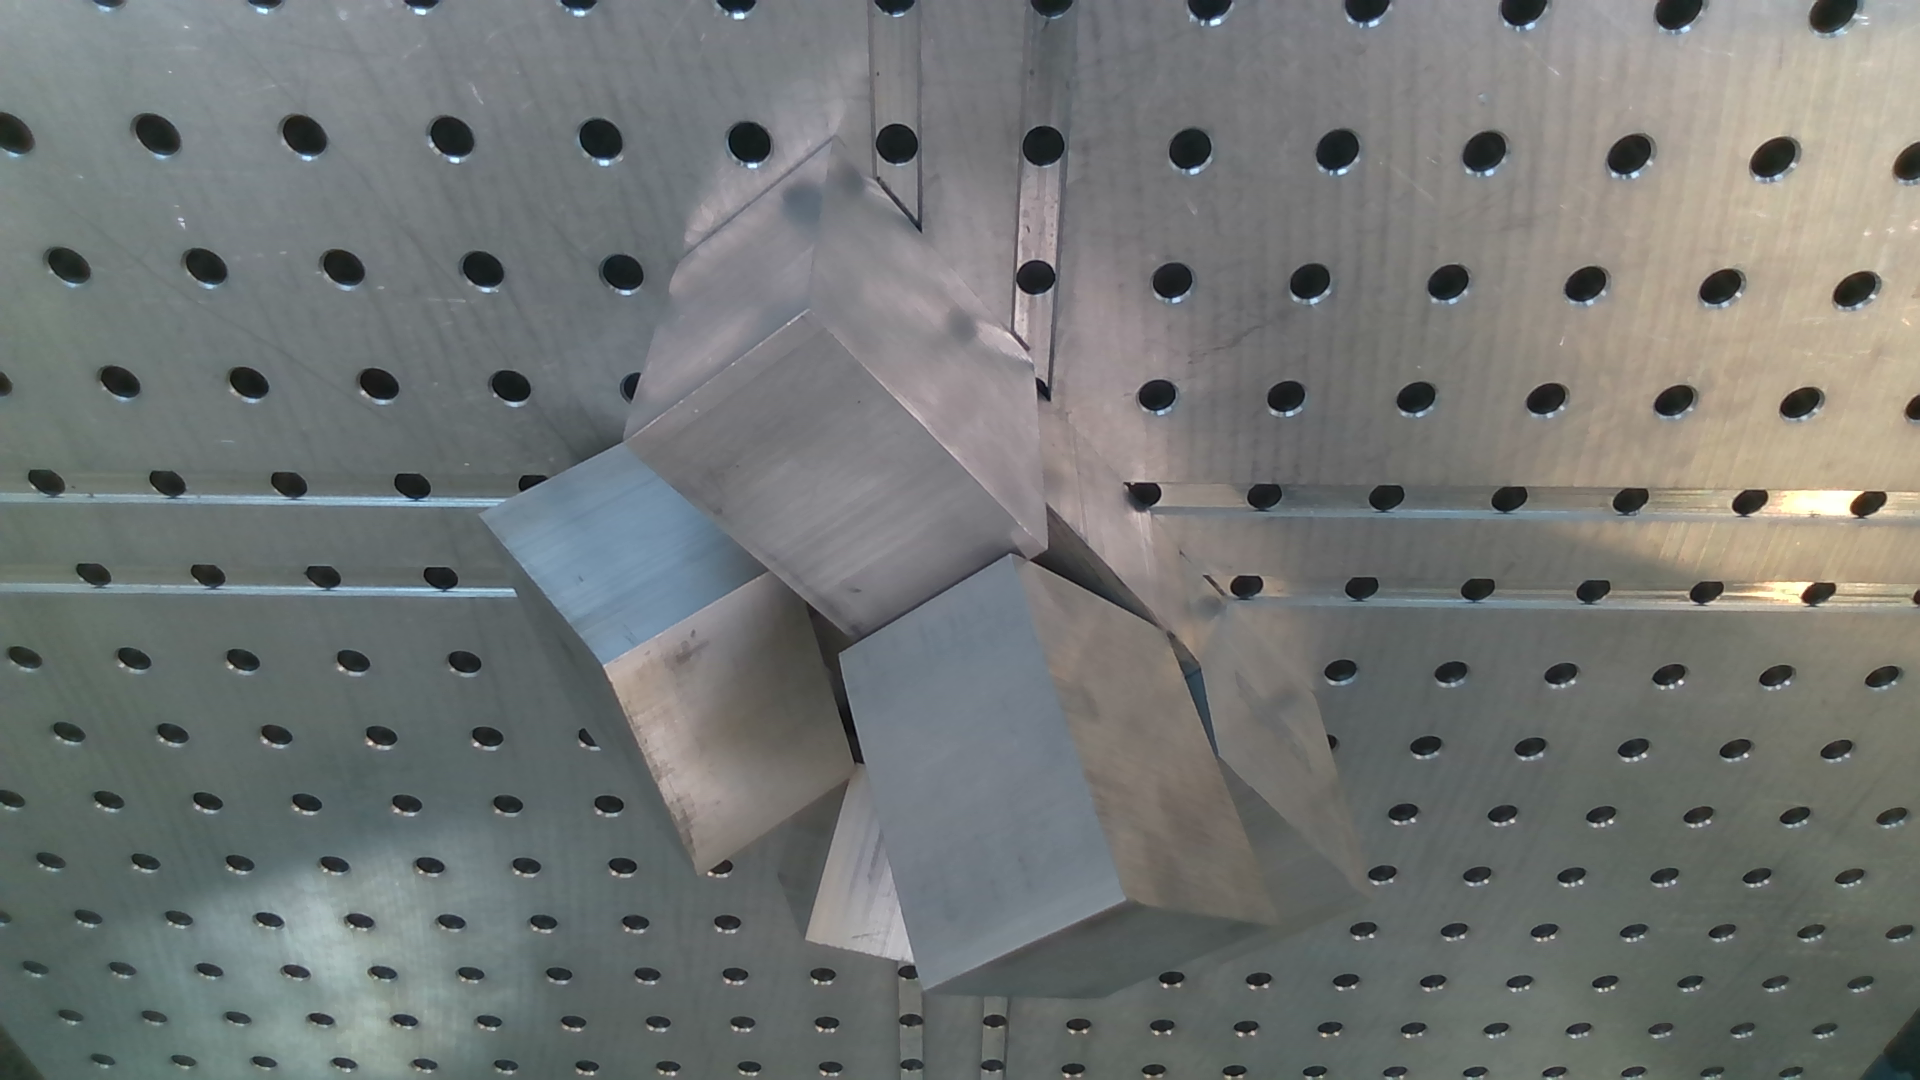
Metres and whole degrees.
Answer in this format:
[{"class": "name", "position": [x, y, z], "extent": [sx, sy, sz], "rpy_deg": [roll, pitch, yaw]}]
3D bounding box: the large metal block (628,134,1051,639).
[{"class": "large metal block", "position": [-0.024, -0.034, 0.325], "extent": [0.050, 0.080, 0.080], "rpy_deg": [-31, 124, 24]}]

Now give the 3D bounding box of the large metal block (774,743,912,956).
[{"class": "large metal block", "position": [-0.009, 0.095, 0.426], "extent": [0.080, 0.080, 0.050], "rpy_deg": [16, 87, -13]}]

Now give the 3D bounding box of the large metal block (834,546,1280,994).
[{"class": "large metal block", "position": [0.023, 0.058, 0.322], "extent": [0.050, 0.080, 0.080], "rpy_deg": [-31, 149, 23]}]

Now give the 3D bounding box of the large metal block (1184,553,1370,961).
[{"class": "large metal block", "position": [0.071, 0.063, 0.409], "extent": [0.050, 0.080, 0.080], "rpy_deg": [-32, 123, 24]}]

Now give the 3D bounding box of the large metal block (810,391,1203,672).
[{"class": "large metal block", "position": [0.009, 0.012, 0.386], "extent": [0.080, 0.050, 0.080], "rpy_deg": [-32, 123, 24]}]

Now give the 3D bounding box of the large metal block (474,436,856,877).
[{"class": "large metal block", "position": [-0.078, 0.028, 0.369], "extent": [0.050, 0.080, 0.080], "rpy_deg": [-31, 133, -22]}]
